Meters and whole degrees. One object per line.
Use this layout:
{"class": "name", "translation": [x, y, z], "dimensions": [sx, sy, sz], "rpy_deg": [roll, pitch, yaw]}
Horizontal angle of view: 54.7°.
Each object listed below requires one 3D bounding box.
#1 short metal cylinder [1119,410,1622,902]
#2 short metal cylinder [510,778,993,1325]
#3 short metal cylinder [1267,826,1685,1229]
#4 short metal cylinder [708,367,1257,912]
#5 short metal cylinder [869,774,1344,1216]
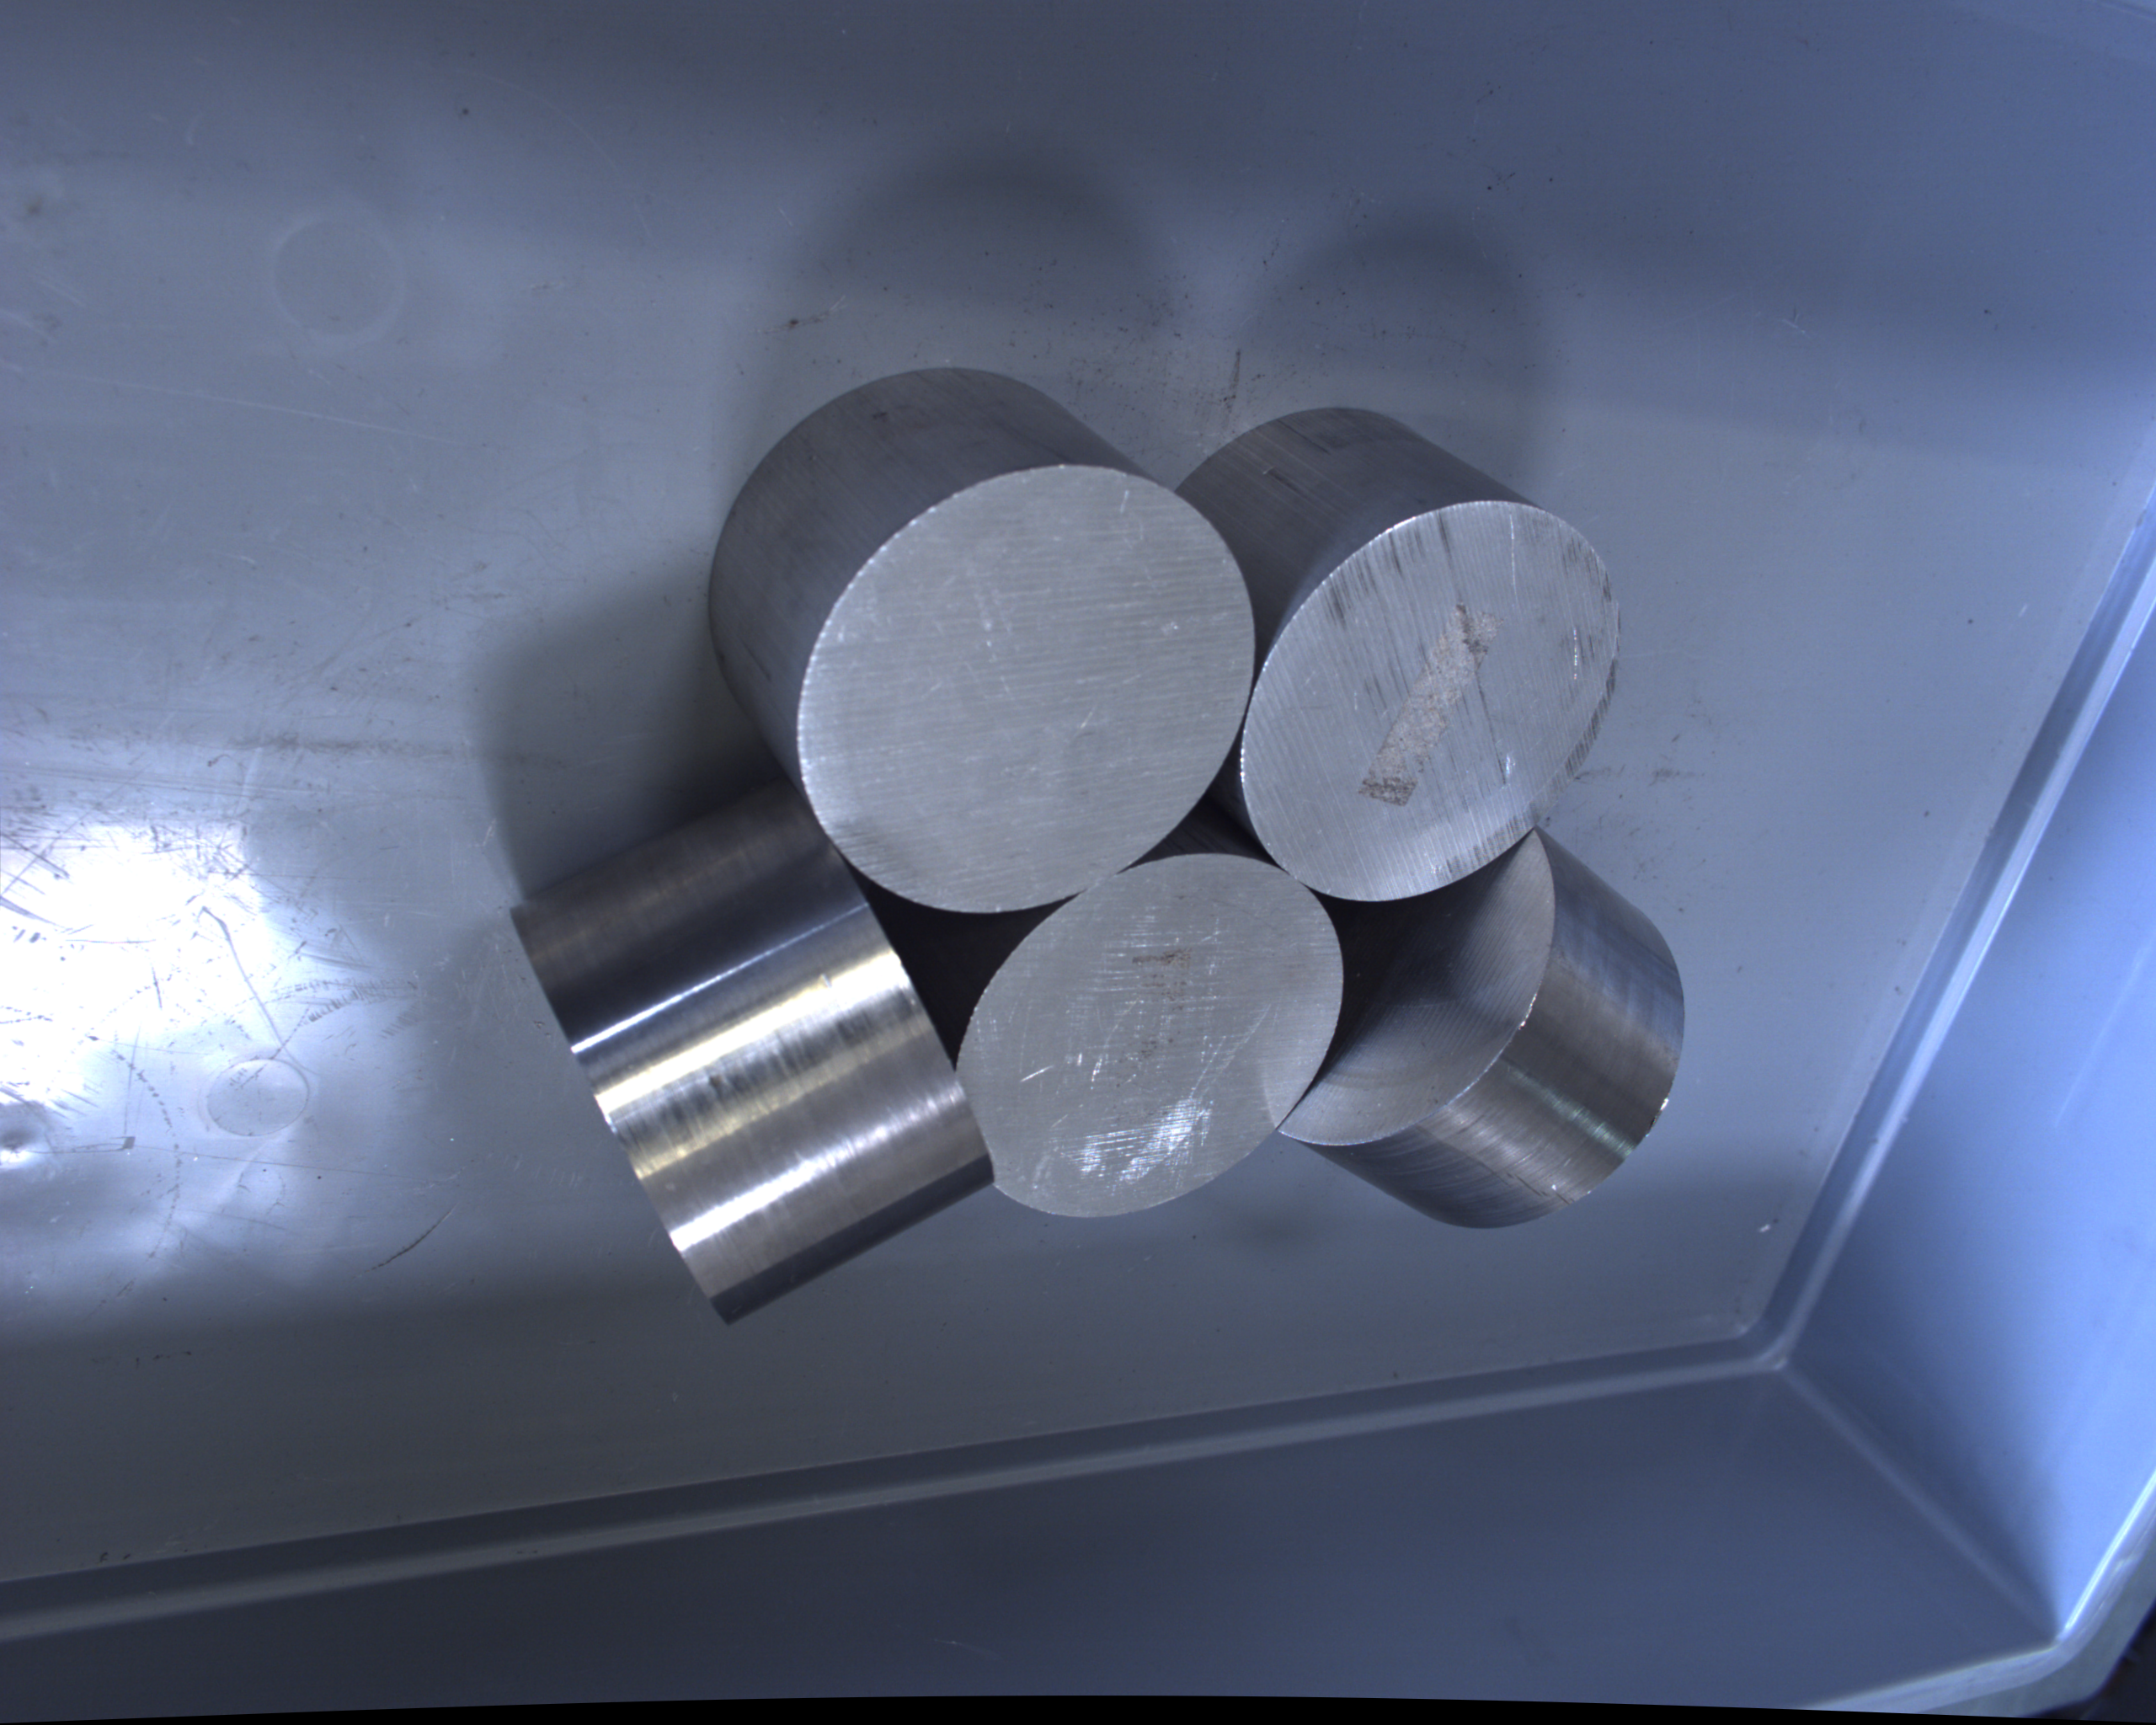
{"class": "short metal cylinder", "translation": [0.054, -0.039, 0.396], "dimensions": [0.081, 0.050, 0.079], "rpy_deg": [-14, 124, -21]}
{"class": "short metal cylinder", "translation": [-0.056, 0.032, 0.360], "dimensions": [0.050, 0.080, 0.080], "rpy_deg": [-27, 128, -11]}
{"class": "short metal cylinder", "translation": [0.076, 0.030, 0.430], "dimensions": [0.050, 0.080, 0.080], "rpy_deg": [34, 99, -38]}
{"class": "short metal cylinder", "translation": [-0.017, -0.038, 0.357], "dimensions": [0.081, 0.050, 0.079], "rpy_deg": [-14, 124, -21]}
{"class": "short metal cylinder", "translation": [0.004, 0.021, 0.406], "dimensions": [0.081, 0.050, 0.079], "rpy_deg": [-14, 124, -21]}
